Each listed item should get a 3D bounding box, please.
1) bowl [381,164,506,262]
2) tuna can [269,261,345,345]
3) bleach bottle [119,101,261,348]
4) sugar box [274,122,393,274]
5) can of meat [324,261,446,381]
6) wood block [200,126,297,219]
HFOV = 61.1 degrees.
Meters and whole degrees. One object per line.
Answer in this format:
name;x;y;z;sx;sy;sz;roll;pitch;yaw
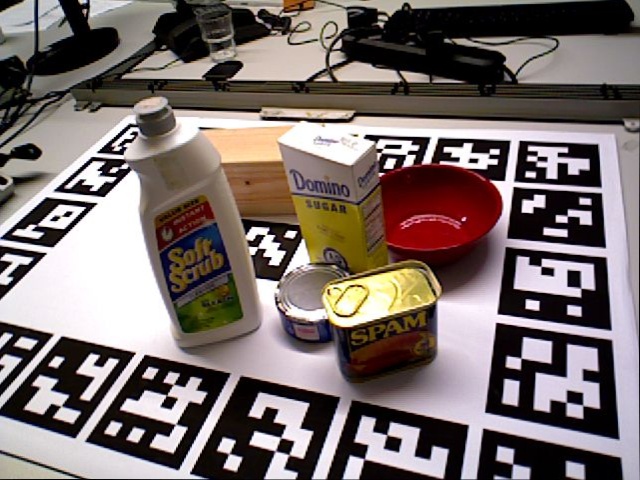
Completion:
bowl;0.127;-0.026;0.607;0.162;0.056;0.159;-10;38;7
tuna can;-0.011;0.063;0.549;0.086;0.034;0.084;-8;43;7
bleach bottle;-0.126;-0.011;0.498;0.102;0.255;0.067;-11;39;-1
sugar box;0.019;-0.029;0.537;0.093;0.179;0.044;21;51;36
can of meat;0.060;0.073;0.492;0.101;0.085;0.057;-13;37;-5
wood block;-0.105;-0.089;0.715;0.207;0.091;0.089;0;45;12
